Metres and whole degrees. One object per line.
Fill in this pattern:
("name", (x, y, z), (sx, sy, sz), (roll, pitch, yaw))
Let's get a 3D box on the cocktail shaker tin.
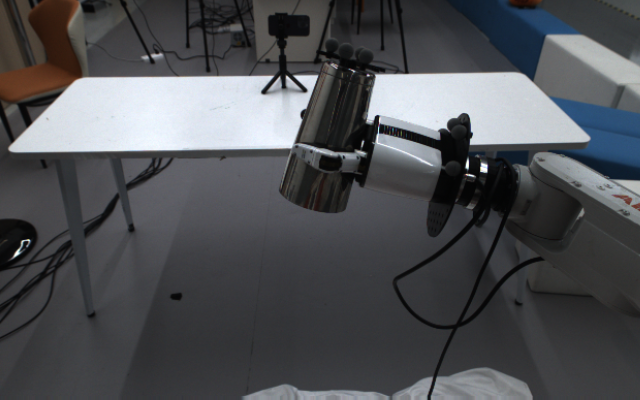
("cocktail shaker tin", (0.014, -0.080, 0.605), (0.093, 0.170, 0.093), (15, 19, -5))
